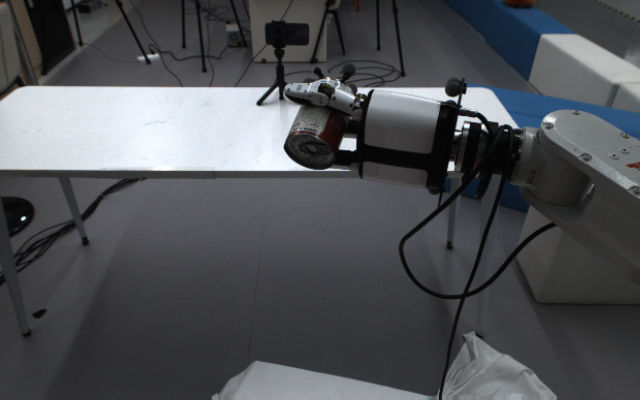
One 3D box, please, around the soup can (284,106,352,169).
[{"bbox_3d":[0.001,-0.101,0.623,0.067,0.067,0.101,12,59,14],"label":"soup can"}]
